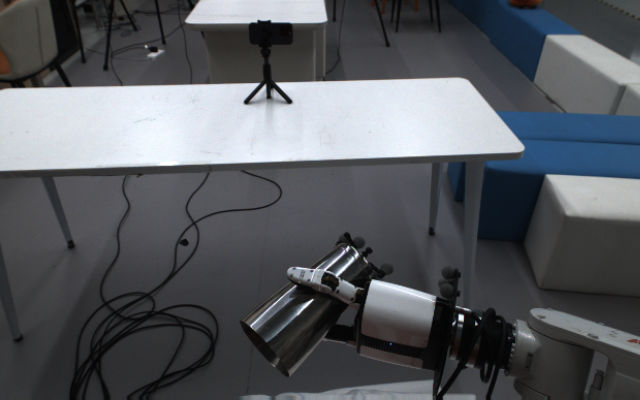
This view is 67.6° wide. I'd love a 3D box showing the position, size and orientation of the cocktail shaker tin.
[{"bbox_3d":[-0.010,0.131,0.633,0.170,0.093,0.093,-38,49,-23],"label":"cocktail shaker tin"}]
